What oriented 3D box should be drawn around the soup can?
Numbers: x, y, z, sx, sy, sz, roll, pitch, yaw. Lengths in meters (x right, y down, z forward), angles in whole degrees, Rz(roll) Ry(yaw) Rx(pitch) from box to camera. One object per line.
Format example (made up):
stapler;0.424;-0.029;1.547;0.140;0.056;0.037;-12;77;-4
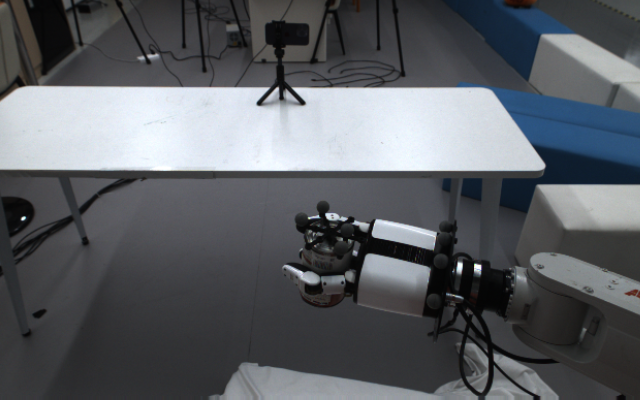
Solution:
soup can;0.010;0.086;0.650;0.067;0.101;0.067;5;37;-3
